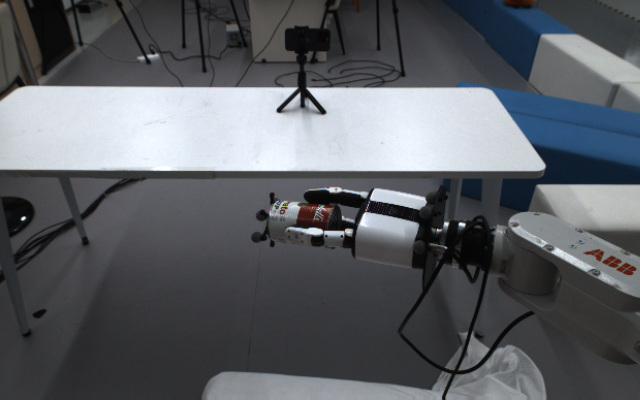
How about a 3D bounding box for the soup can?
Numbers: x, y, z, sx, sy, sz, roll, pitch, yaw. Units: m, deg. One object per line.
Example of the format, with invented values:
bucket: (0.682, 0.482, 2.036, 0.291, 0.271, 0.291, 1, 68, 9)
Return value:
soup can: (-0.022, 0.038, 0.754, 0.101, 0.067, 0.067, 5, 34, 18)
